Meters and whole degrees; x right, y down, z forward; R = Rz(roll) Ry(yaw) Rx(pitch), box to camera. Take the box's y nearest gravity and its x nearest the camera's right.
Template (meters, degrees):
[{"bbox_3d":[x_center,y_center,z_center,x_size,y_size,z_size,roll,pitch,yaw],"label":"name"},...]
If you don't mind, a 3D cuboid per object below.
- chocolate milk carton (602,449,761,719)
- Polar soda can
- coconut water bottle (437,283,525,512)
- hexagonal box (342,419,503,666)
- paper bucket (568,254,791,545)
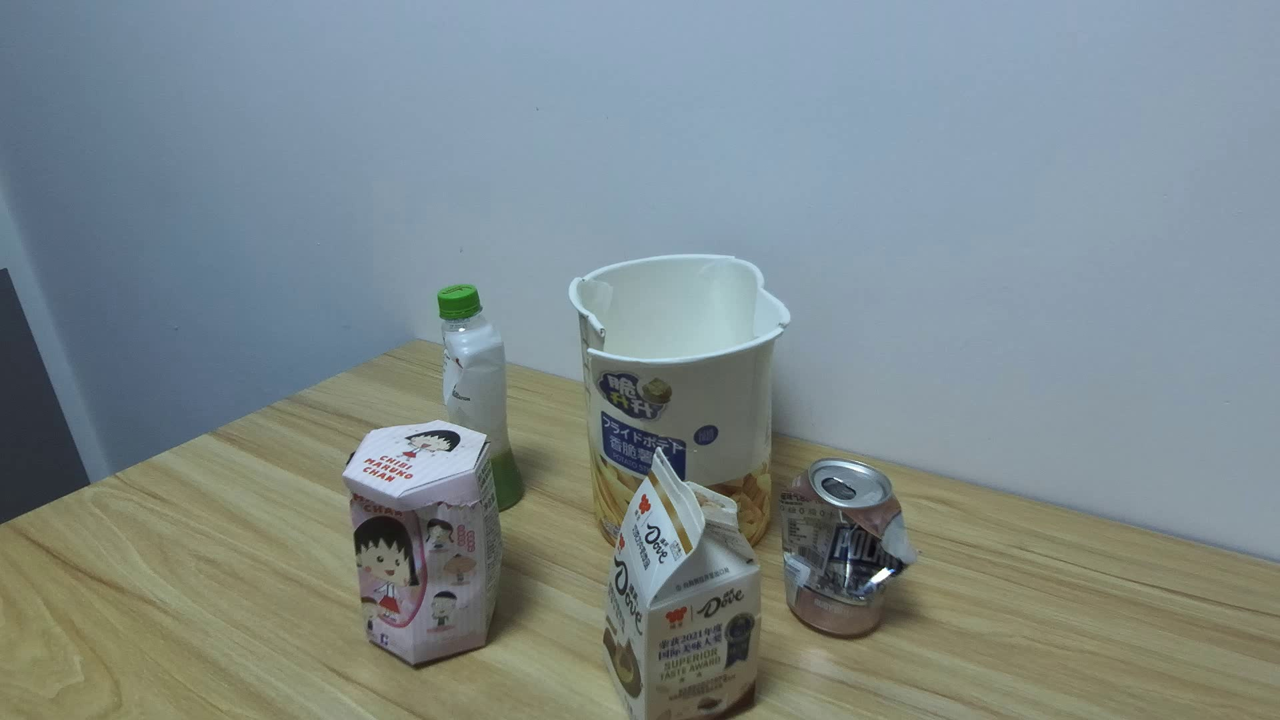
[{"bbox_3d":[0.022,0.127,0.403,0.073,0.155,0.084,-11,27,-19],"label":"chocolate milk carton"},{"bbox_3d":[0.135,0.124,0.467,0.074,0.114,0.070,-8,30,-8],"label":"Polar soda can"},{"bbox_3d":[-0.135,0.032,0.582,0.069,0.187,0.069,-1,23,1],"label":"coconut water bottle"},{"bbox_3d":[-0.139,0.116,0.461,0.090,0.134,0.091,-6,24,-20],"label":"hexagonal box"},{"bbox_3d":[0.032,0.039,0.547,0.146,0.197,0.202,-6,25,-7],"label":"paper bucket"}]
